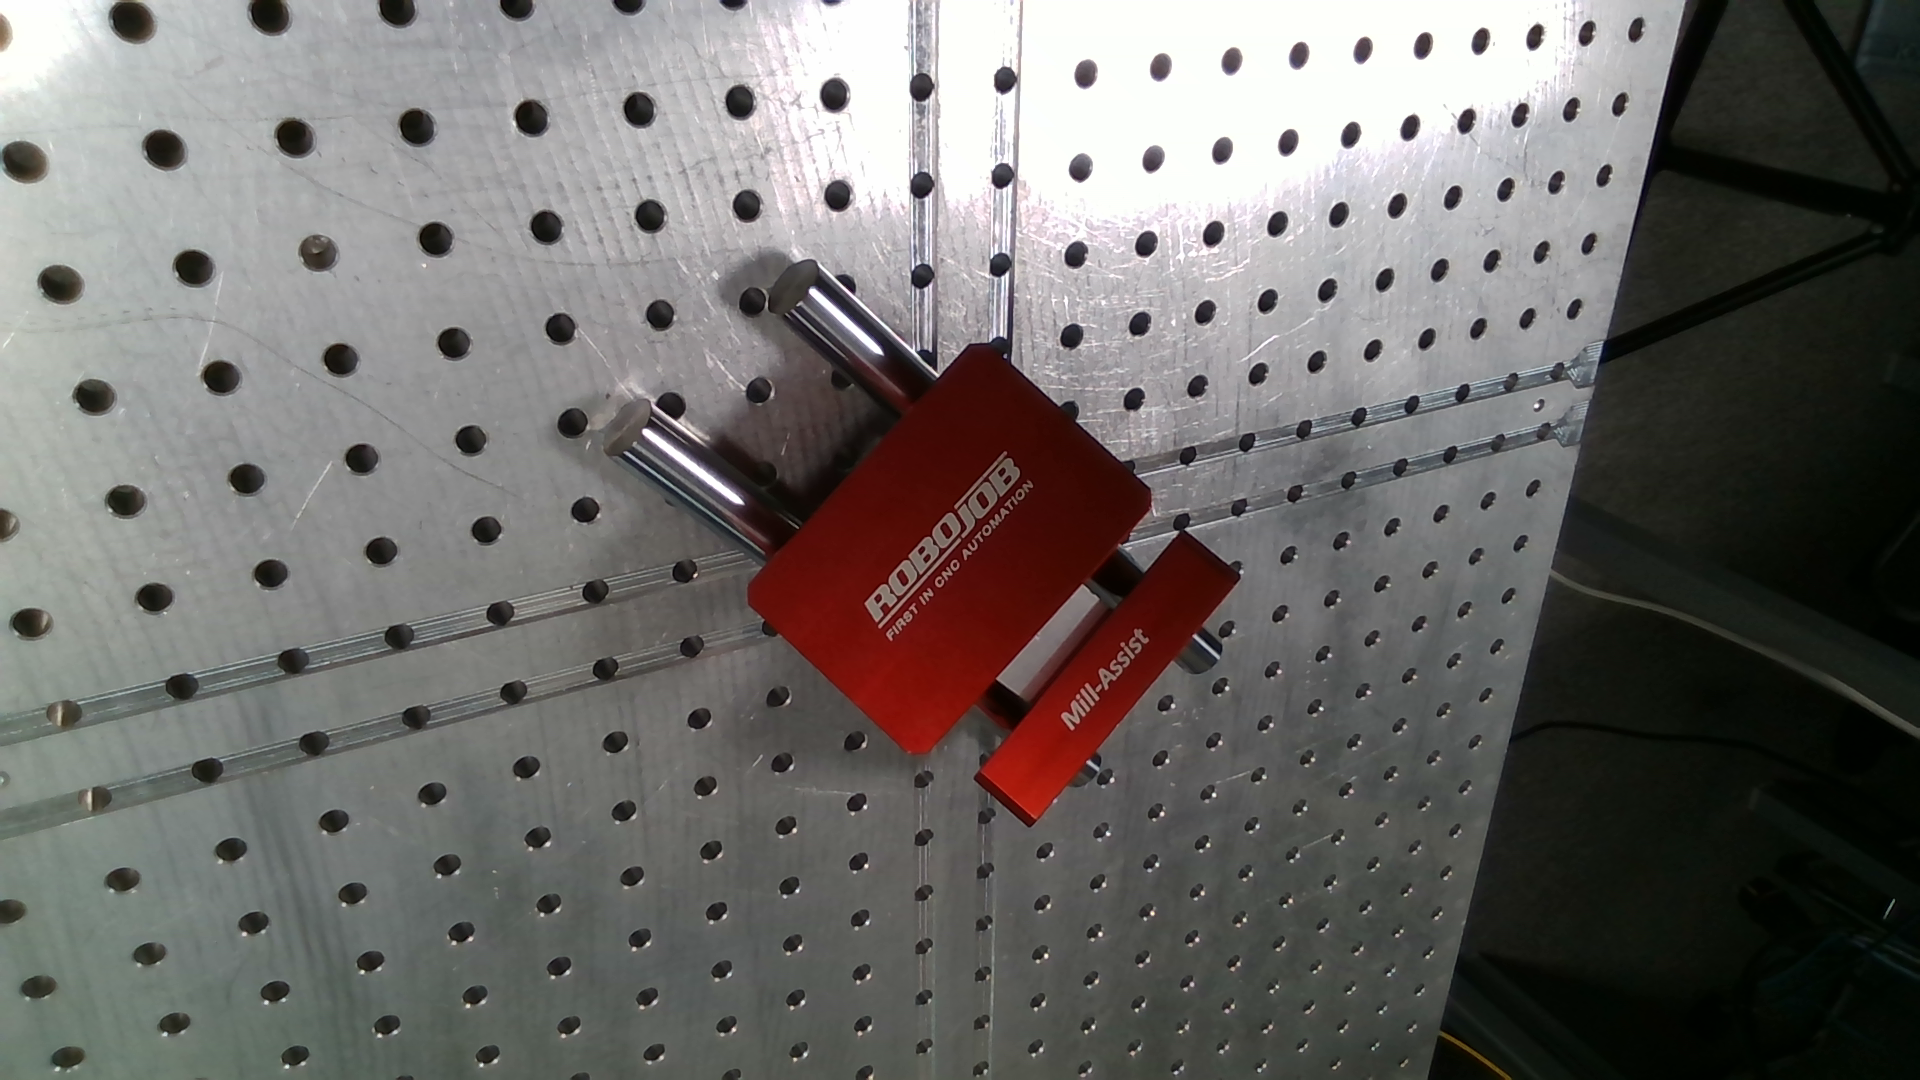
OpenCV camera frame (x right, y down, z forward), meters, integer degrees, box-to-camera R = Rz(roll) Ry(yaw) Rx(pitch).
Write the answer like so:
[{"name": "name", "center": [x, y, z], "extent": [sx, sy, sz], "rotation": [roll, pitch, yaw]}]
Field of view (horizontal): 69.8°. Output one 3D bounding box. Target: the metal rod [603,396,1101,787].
[{"name": "metal rod", "center": [-0.030, 0.035, 0.585], "extent": [0.025, 0.025, 0.301], "rotation": [-49, 129, 0]}]

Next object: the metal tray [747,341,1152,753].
[{"name": "metal tray", "center": [-0.004, 0.003, 0.514], "extent": [0.090, 0.030, 0.130], "rotation": [42, 89, 4]}]

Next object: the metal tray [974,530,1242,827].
[{"name": "metal tray", "center": [0.062, 0.057, 0.583], "extent": [0.130, 0.030, 0.090], "rotation": [-50, 173, 1]}]

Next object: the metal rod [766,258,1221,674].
[{"name": "metal rod", "center": [0.029, -0.018, 0.592], "extent": [0.025, 0.025, 0.301], "rotation": [-50, 129, 1]}]

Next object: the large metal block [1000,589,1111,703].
[{"name": "large metal block", "center": [0.019, 0.024, 0.572], "extent": [0.050, 0.080, 0.080], "rotation": [-49, 129, 0]}]
